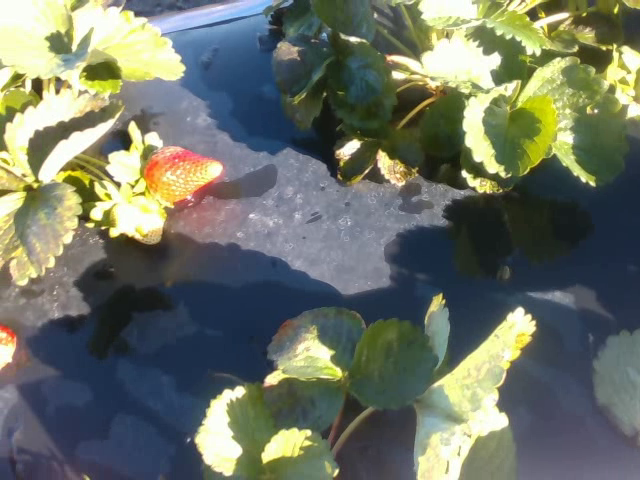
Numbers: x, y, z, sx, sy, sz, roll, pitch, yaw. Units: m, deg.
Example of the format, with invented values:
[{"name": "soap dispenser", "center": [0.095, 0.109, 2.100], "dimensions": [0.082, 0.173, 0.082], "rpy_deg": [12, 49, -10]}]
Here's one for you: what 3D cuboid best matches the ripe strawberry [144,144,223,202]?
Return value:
[{"name": "ripe strawberry", "center": [-0.096, -0.049, 0.439], "dimensions": [0.064, 0.050, 0.052], "rpy_deg": [-7, 6, 12]}]
